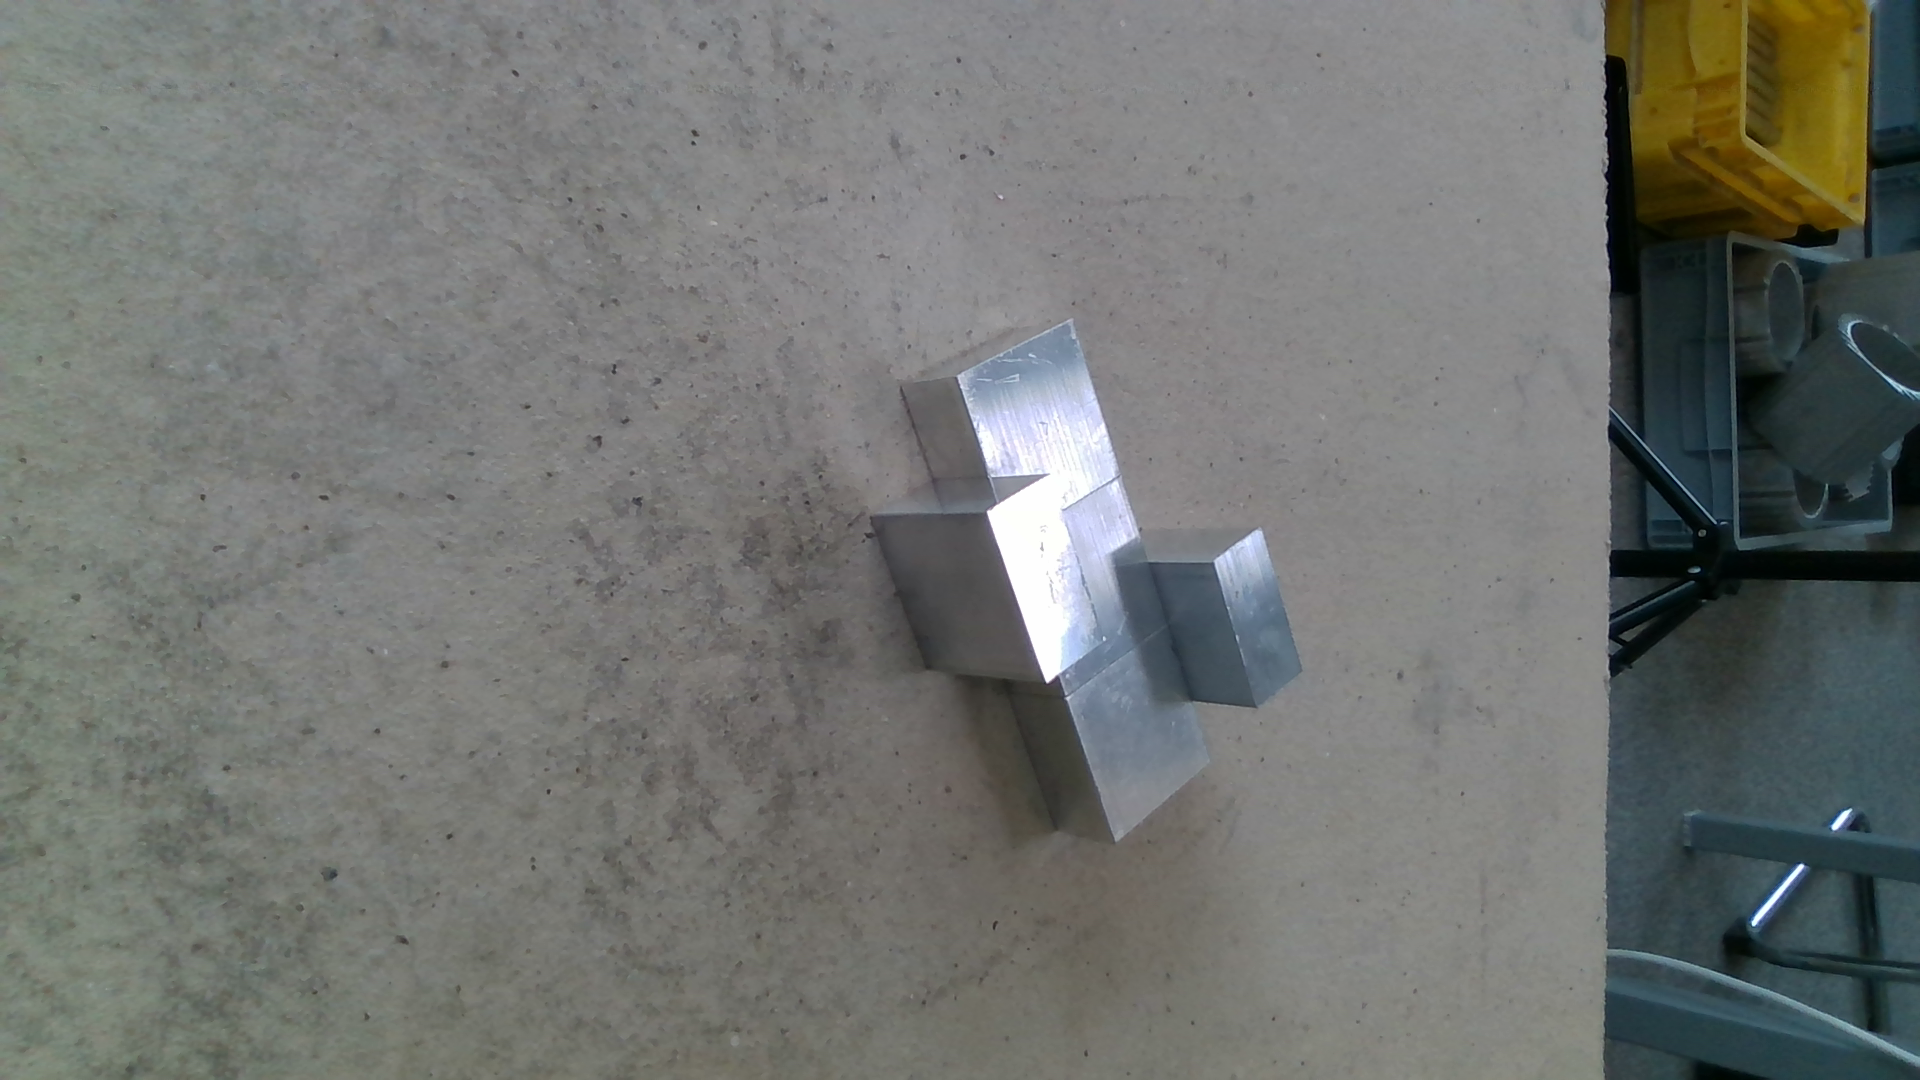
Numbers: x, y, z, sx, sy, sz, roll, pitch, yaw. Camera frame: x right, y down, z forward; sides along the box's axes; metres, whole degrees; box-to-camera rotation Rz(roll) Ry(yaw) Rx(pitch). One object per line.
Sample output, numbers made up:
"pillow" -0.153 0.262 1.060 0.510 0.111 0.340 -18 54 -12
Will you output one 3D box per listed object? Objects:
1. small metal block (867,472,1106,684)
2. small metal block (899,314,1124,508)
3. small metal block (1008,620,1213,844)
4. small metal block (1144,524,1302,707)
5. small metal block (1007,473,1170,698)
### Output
"small metal block" 0.007 0.010 0.381 0.025 0.050 0.050 -32 110 -36
"small metal block" 0.016 -0.033 0.404 0.050 0.025 0.050 -31 110 -36
"small metal block" 0.048 0.058 0.432 0.050 0.025 0.050 -31 110 -36
"small metal block" 0.075 0.023 0.439 0.025 0.050 0.050 -31 108 -36
"small metal block" 0.032 0.013 0.418 0.050 0.025 0.050 -31 110 -36
